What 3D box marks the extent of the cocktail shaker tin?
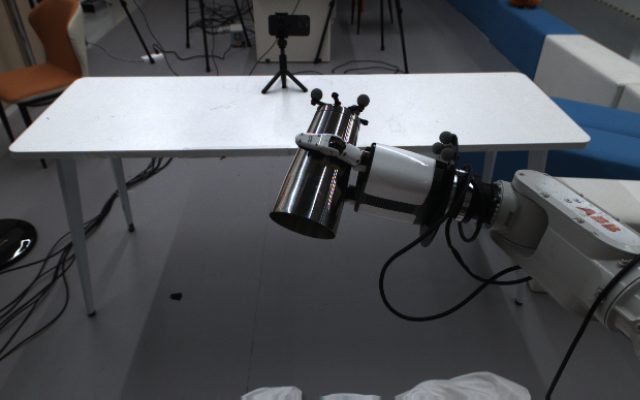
[{"bbox_3d":[0.000,-0.043,0.660,0.093,0.093,0.170,13,70,15],"label":"cocktail shaker tin"}]
